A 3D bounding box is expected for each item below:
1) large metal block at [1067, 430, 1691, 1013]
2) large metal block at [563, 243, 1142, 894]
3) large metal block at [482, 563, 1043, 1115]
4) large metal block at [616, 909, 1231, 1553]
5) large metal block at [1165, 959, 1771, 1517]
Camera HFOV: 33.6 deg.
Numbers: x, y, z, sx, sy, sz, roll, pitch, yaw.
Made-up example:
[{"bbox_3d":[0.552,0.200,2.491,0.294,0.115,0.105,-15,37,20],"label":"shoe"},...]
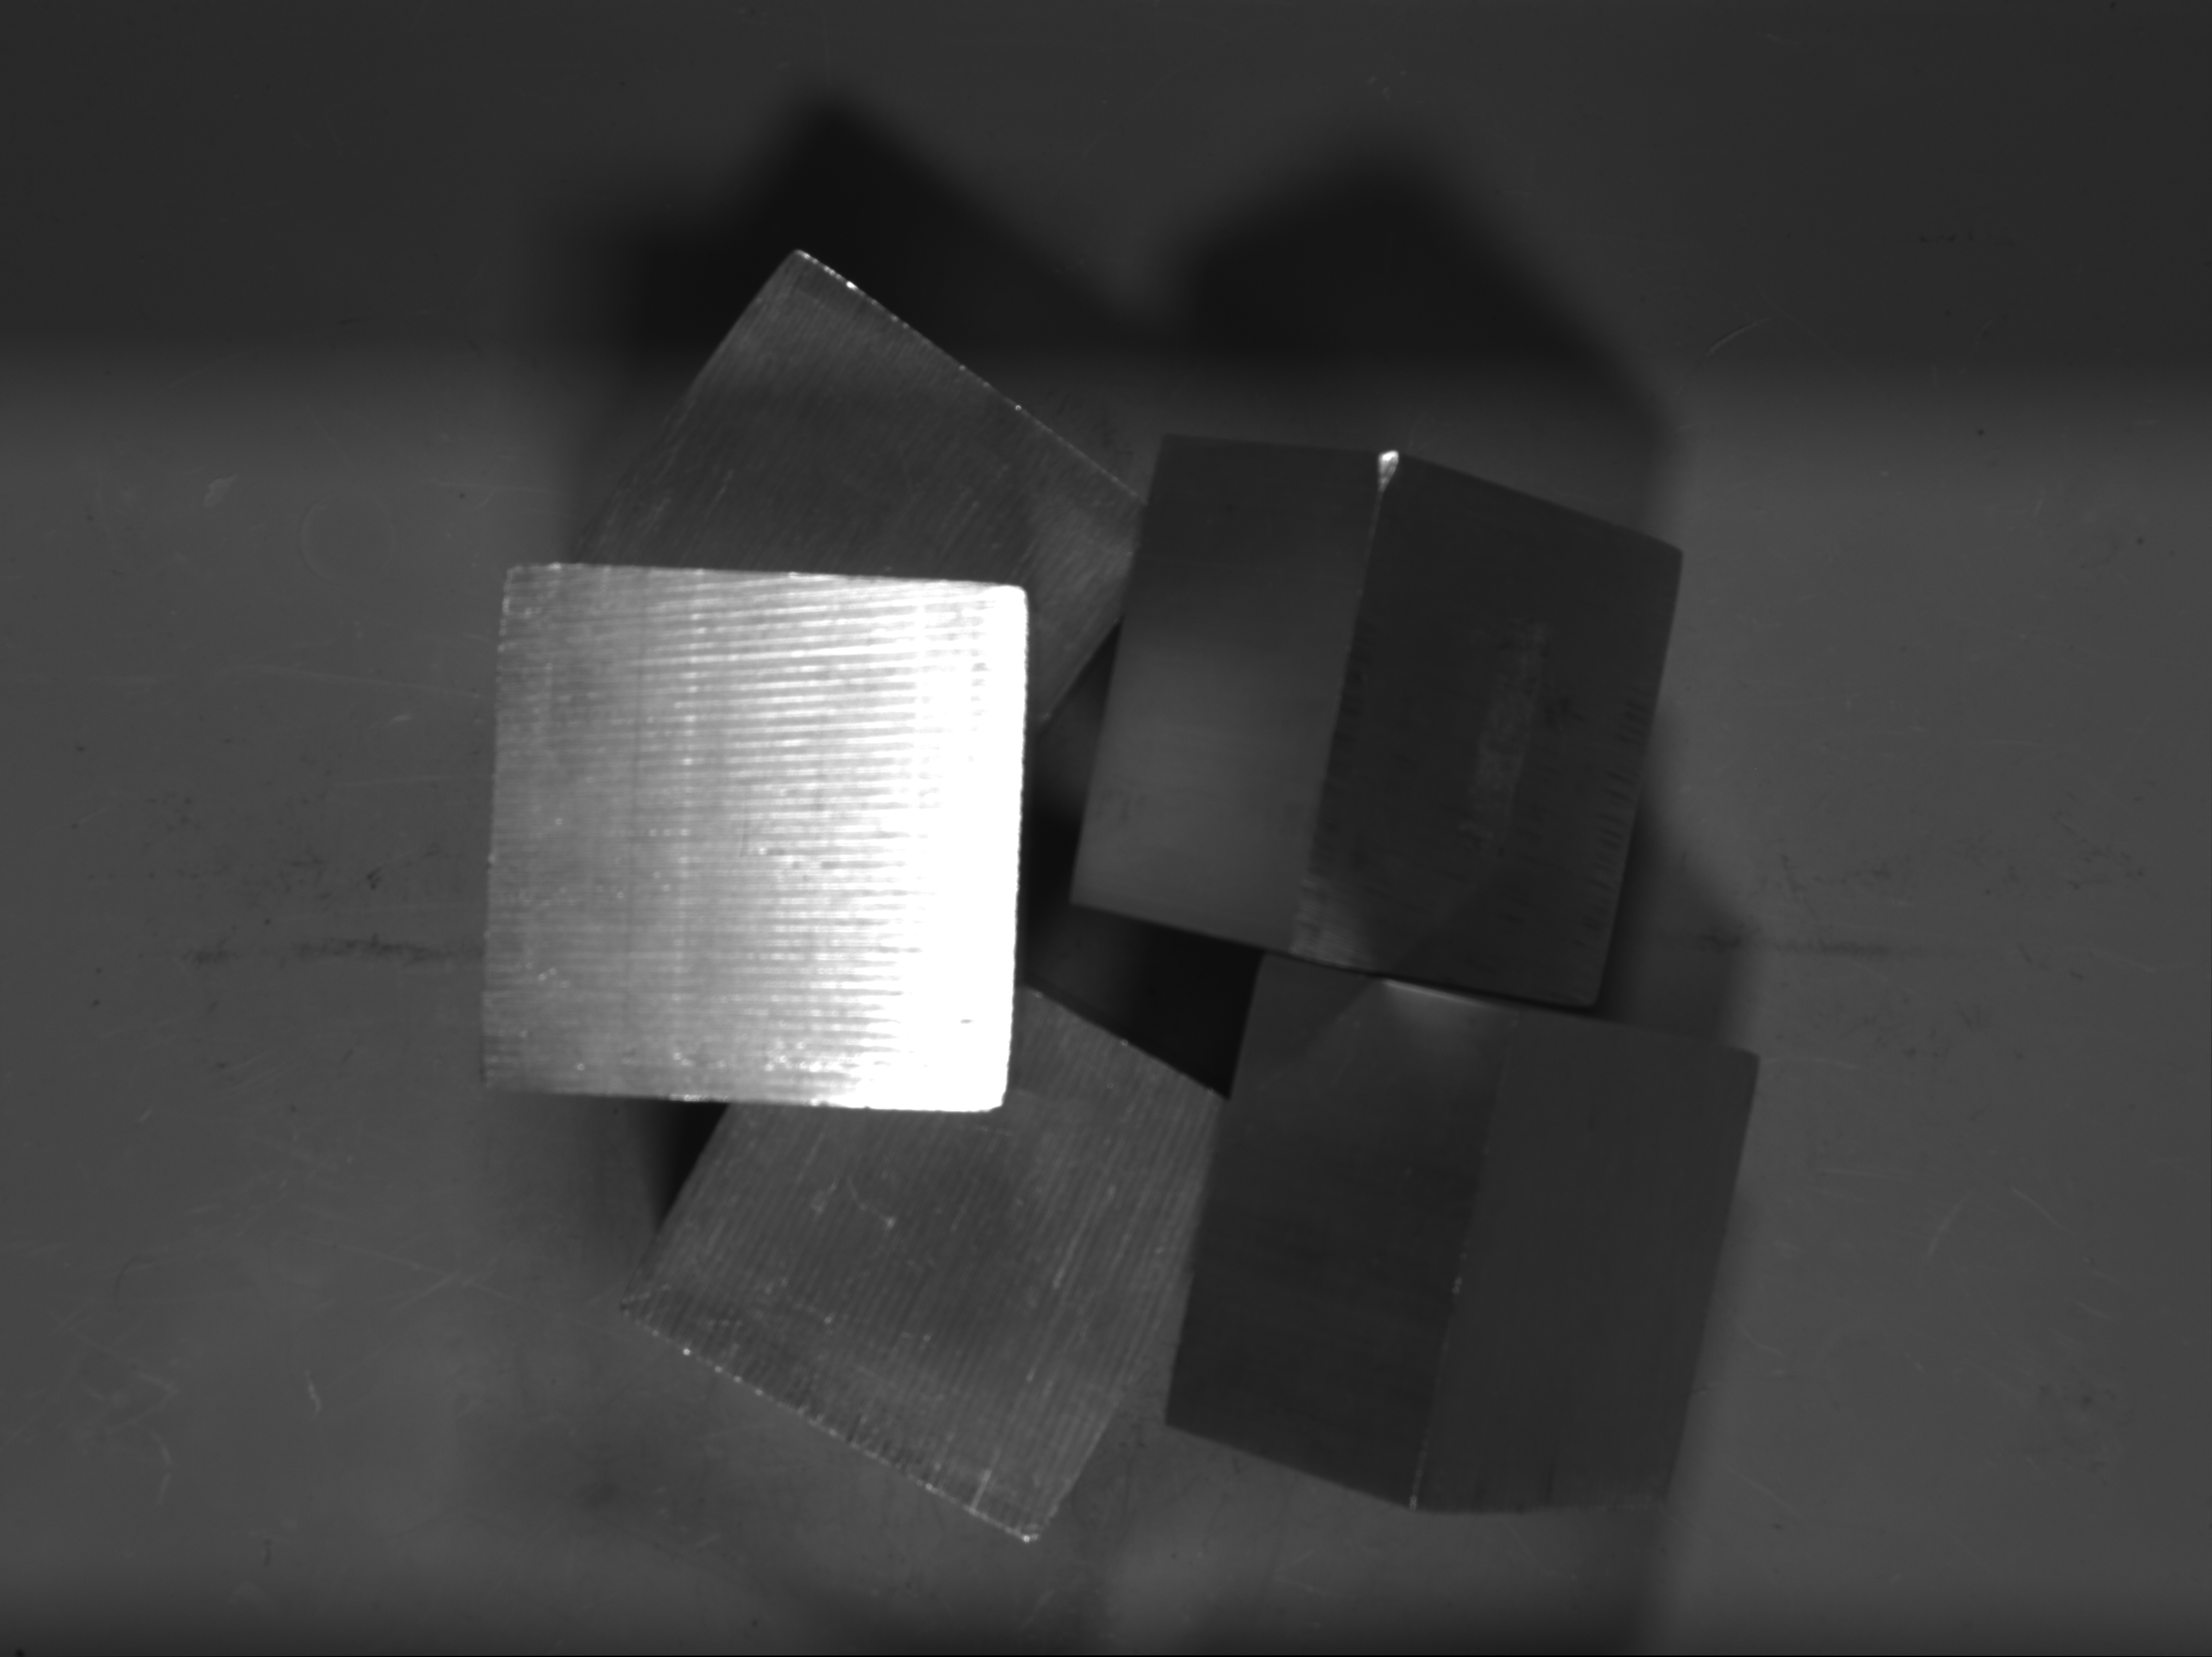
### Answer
[{"bbox_3d":[0.047,-0.017,0.611,0.080,0.050,0.080,12,89,-45],"label":"large metal block"},{"bbox_3d":[-0.042,-0.041,0.632,0.080,0.050,0.080,36,90,0],"label":"large metal block"},{"bbox_3d":[-0.052,0.002,0.580,0.080,0.050,0.080,3,89,1],"label":"large metal block"},{"bbox_3d":[-0.026,0.065,0.628,0.080,0.050,0.080,30,90,0],"label":"large metal block"},{"bbox_3d":[0.062,0.068,0.610,0.050,0.080,0.080,12,89,39],"label":"large metal block"}]
